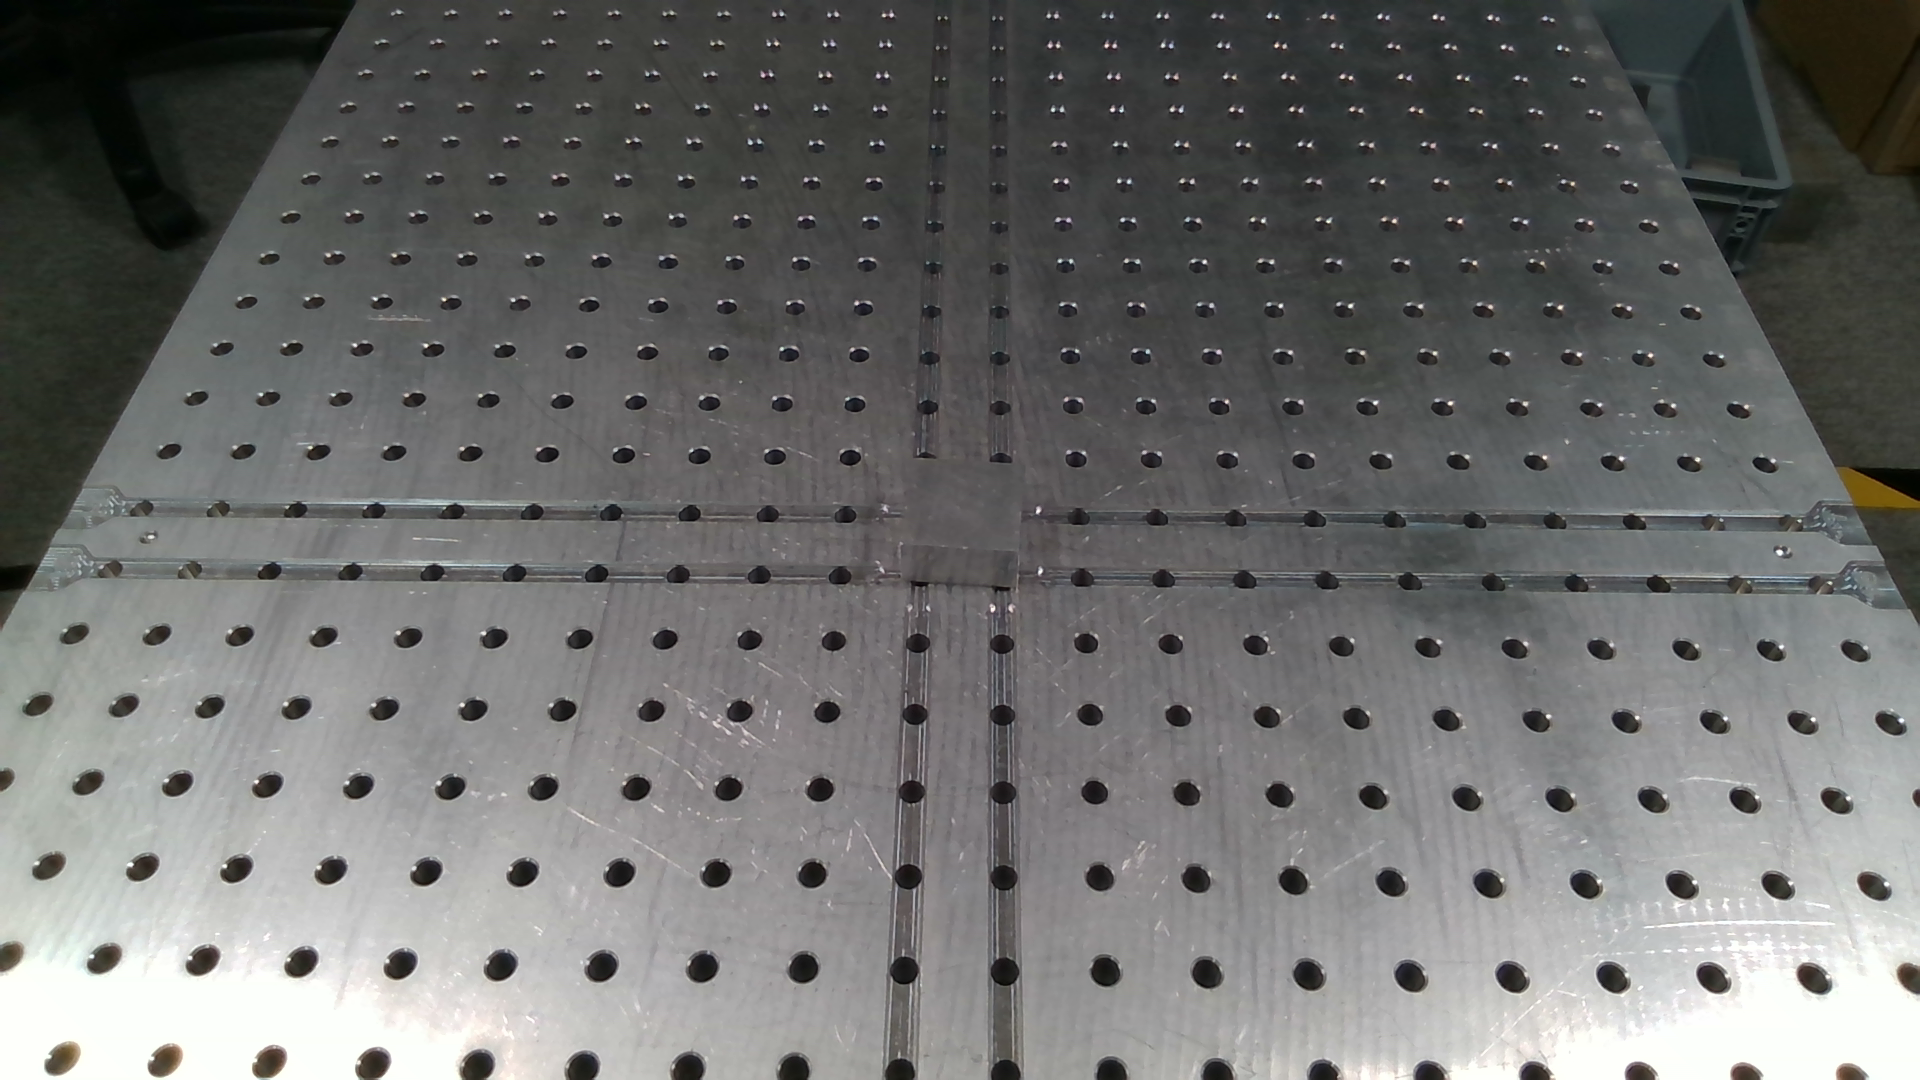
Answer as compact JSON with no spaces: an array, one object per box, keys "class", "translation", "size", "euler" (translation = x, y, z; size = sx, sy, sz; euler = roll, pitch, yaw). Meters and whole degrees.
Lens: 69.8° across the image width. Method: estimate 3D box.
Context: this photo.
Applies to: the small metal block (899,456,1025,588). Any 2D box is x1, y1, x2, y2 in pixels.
[{"class":"small metal block","translation":[0.002,-0.008,0.596],"size":[0.050,0.025,0.050],"euler":[4,50,3]}]
